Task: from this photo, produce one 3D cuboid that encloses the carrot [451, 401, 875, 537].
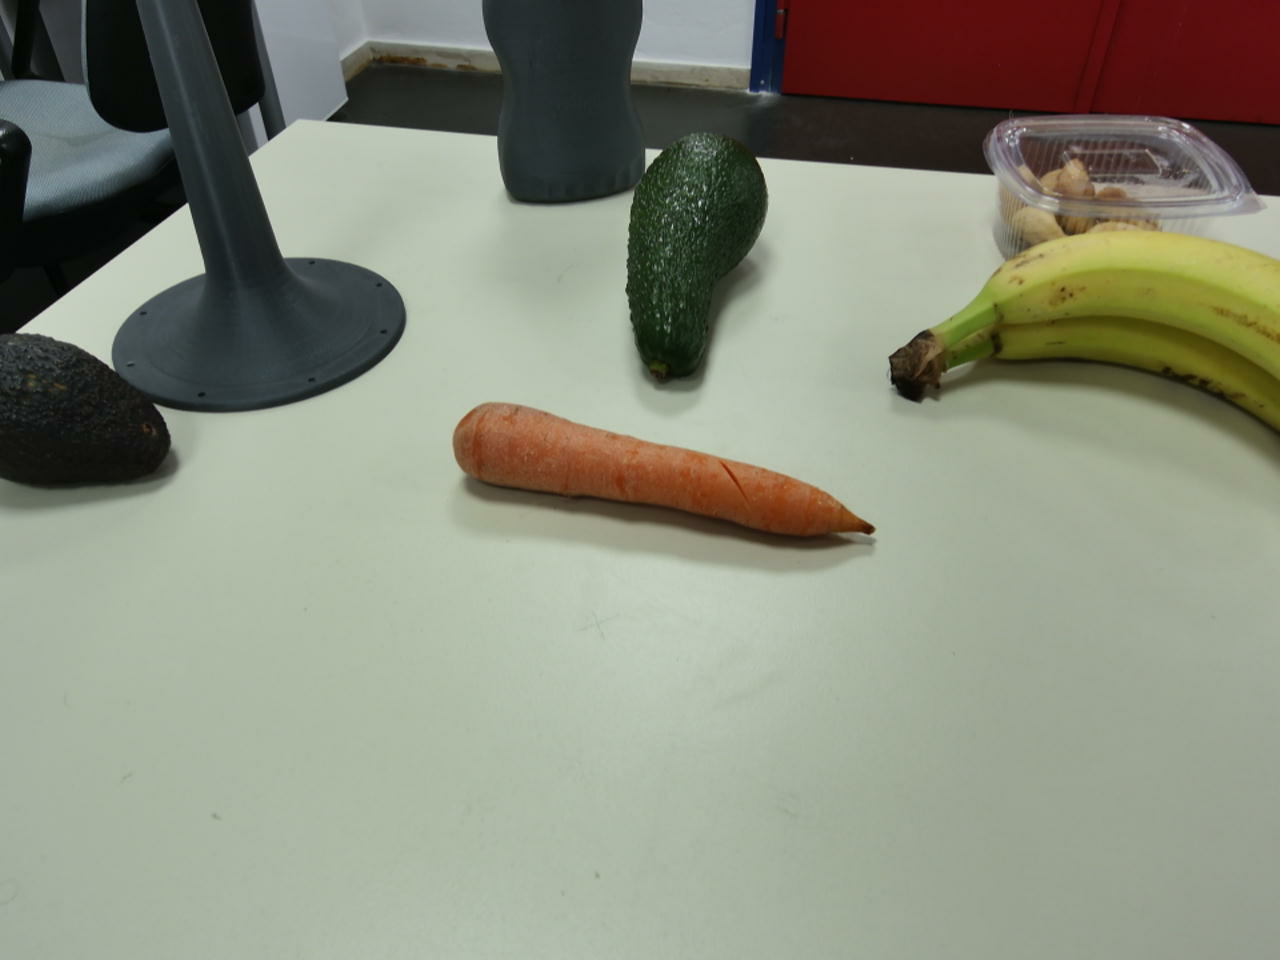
[{"bbox_3d":[0.009,-0.005,0.450,0.196,0.041,0.039,9,39,11],"label":"carrot"}]
